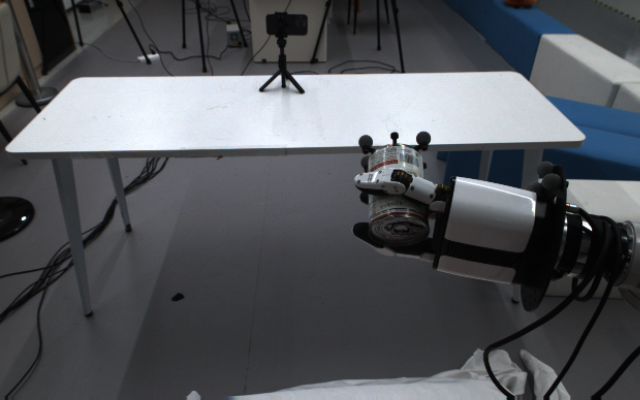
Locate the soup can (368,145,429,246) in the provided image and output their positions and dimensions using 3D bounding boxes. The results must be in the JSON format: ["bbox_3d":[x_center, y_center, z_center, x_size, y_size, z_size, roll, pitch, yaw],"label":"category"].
[{"bbox_3d":[0.091,-0.006,0.560,0.067,0.067,0.101,3,57,1],"label":"soup can"}]
